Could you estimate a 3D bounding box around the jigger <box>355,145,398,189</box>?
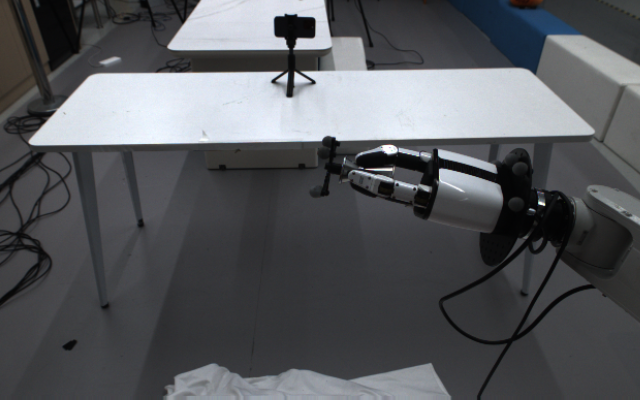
[{"bbox_3d":[0.069,-0.036,0.646,0.071,0.043,0.043,12,36,5],"label":"jigger"}]
